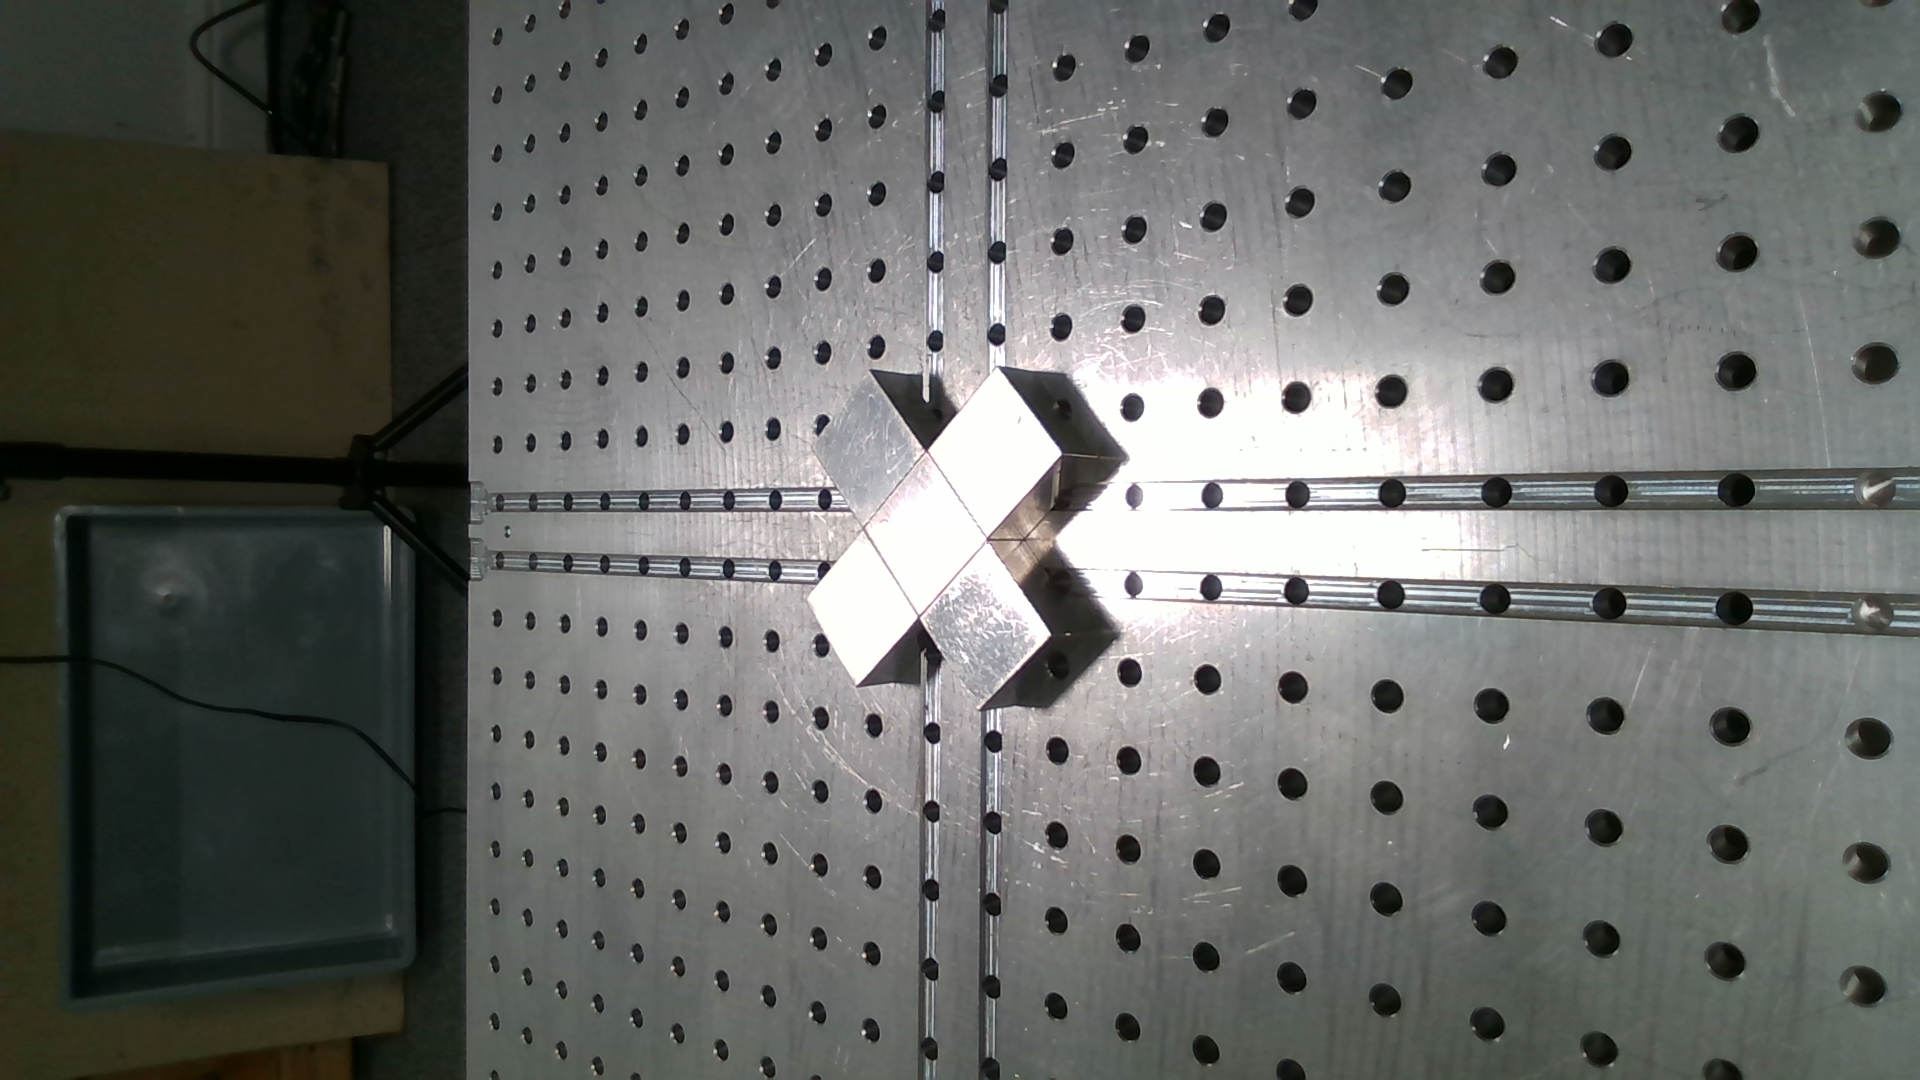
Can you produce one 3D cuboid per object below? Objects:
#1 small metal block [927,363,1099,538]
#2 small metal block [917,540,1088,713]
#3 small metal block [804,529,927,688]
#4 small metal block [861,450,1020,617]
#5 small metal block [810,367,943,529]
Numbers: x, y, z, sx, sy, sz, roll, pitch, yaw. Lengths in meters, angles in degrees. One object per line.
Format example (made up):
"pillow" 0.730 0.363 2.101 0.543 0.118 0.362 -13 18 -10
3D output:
"small metal block" 0.021 -0.036 0.567 0.050 0.025 0.050 -49 61 29
"small metal block" 0.017 0.035 0.570 0.050 0.025 0.050 -49 61 29
"small metal block" -0.037 0.030 0.616 0.050 0.025 0.050 -49 61 29
"small metal block" -0.008 -0.003 0.591 0.050 0.025 0.050 -49 61 29
"small metal block" -0.033 -0.040 0.613 0.050 0.025 0.050 -49 61 29
